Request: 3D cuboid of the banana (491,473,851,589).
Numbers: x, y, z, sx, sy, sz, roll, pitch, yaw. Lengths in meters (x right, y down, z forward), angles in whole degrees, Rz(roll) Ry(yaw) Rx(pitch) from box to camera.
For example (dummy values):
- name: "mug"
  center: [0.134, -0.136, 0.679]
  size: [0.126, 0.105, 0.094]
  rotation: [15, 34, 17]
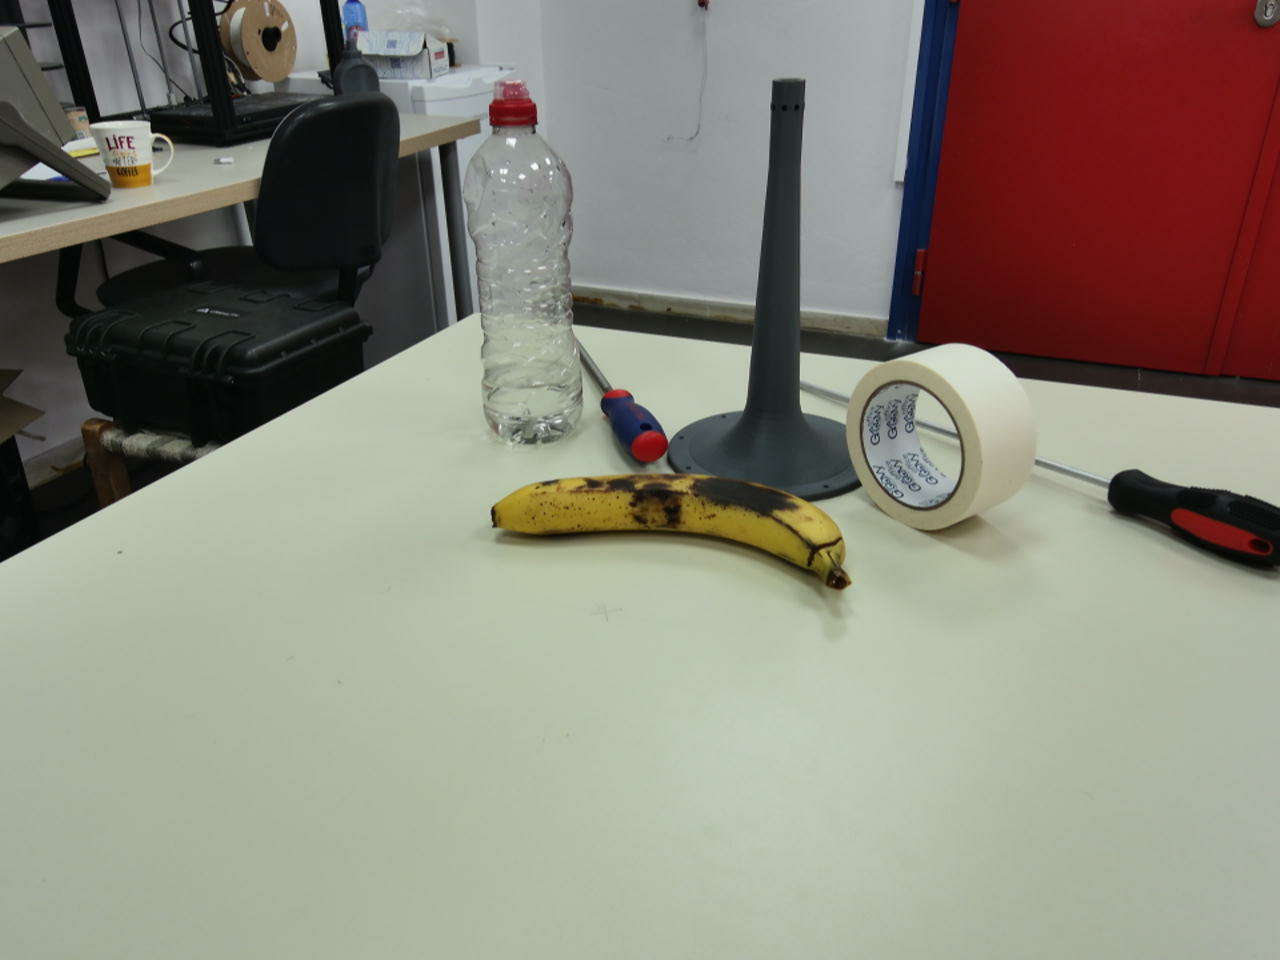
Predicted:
- name: "banana"
  center: [0.024, 0.022, 0.600]
  size: [0.222, 0.037, 0.084]
  rotation: [11, 28, 22]
